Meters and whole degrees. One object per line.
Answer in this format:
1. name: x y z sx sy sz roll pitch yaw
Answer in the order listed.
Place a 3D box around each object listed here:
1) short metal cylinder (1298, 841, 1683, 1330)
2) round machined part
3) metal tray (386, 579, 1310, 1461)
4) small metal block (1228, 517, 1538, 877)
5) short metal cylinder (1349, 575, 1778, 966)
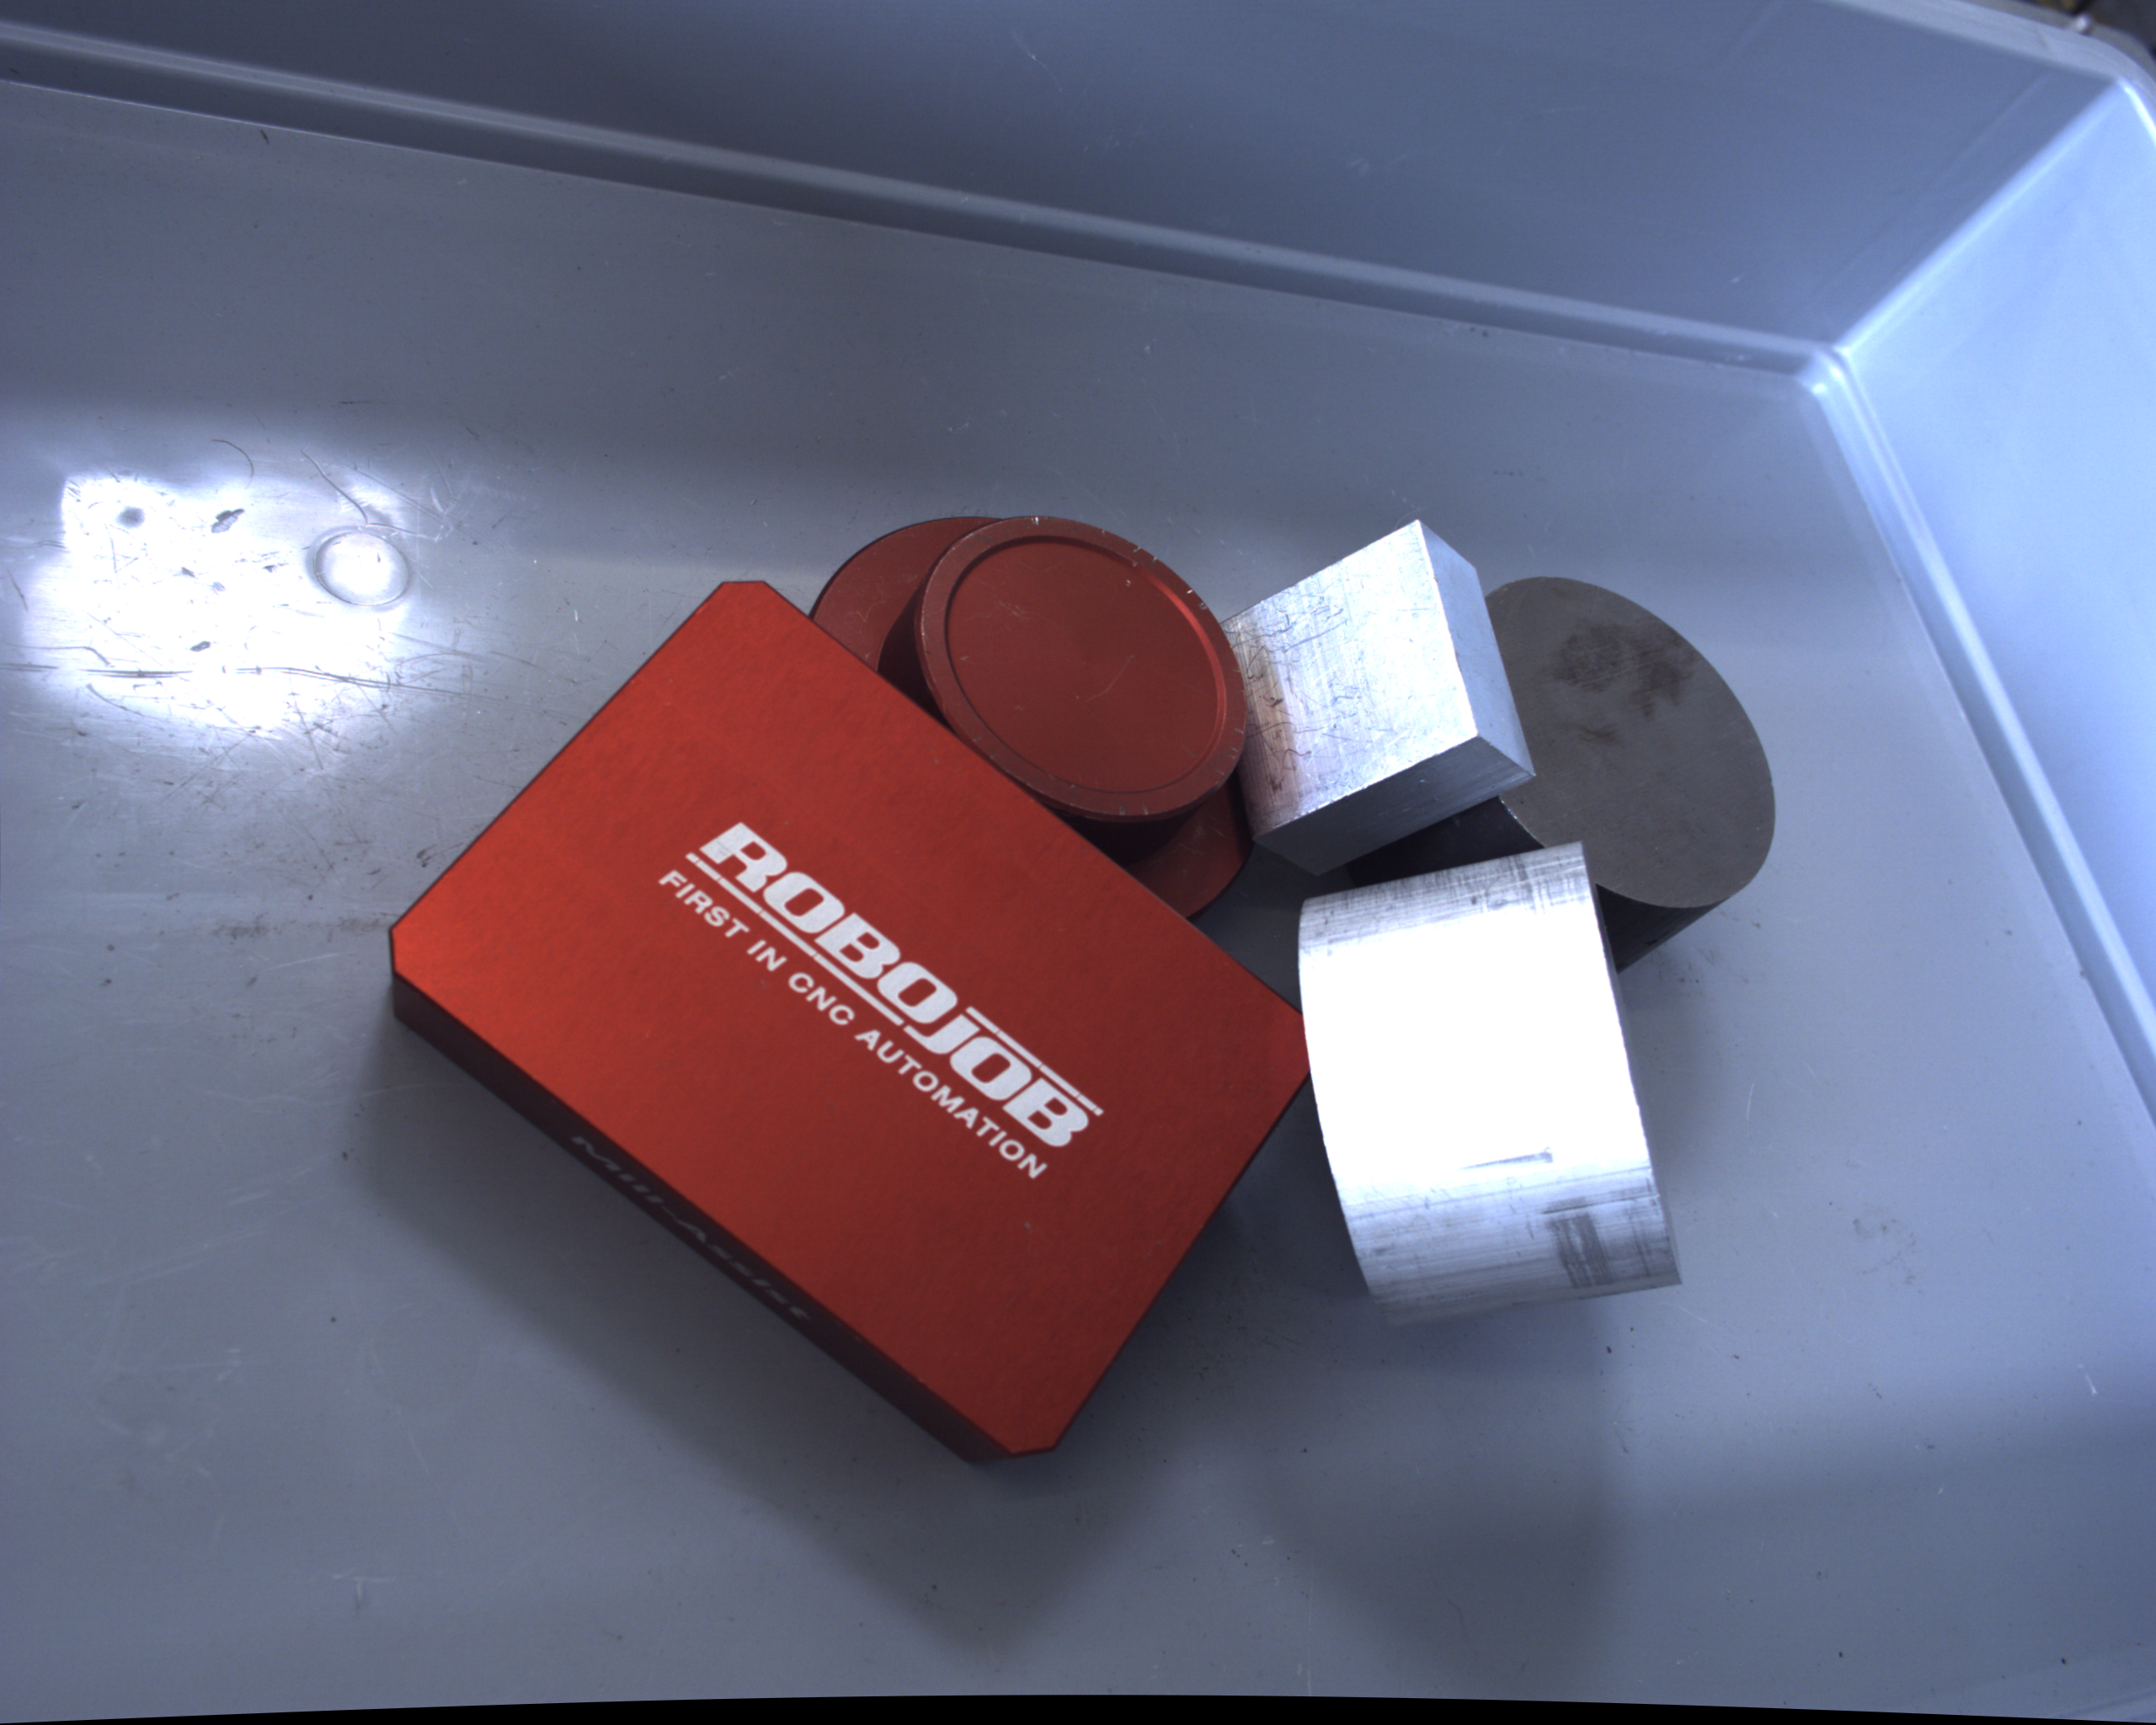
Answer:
1. short metal cylinder: 0.075 0.040 0.376 0.050 0.080 0.080 -13 60 14
2. round machined part: -0.007 -0.028 0.406 0.099 0.042 0.098 14 56 -21
3. metal tray: -0.036 0.026 0.350 0.130 0.030 0.090 39 66 -3
4. small metal block: 0.057 -0.032 0.414 0.025 0.050 0.050 27 45 -48
5. short metal cylinder: 0.102 -0.015 0.452 0.081 0.050 0.080 14 56 -21
